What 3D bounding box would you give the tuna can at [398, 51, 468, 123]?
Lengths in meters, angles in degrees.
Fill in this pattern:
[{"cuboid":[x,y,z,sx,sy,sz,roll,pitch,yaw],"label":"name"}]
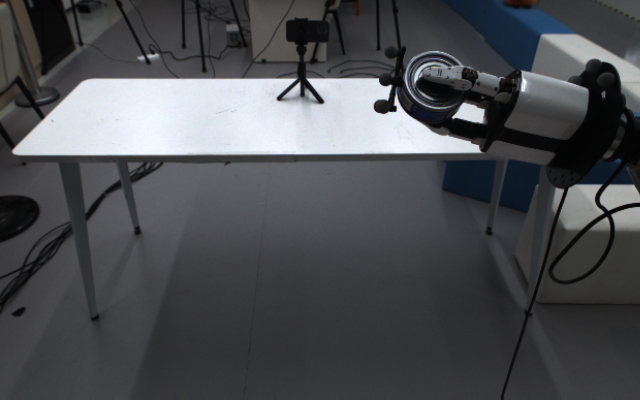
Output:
[{"cuboid":[0.145,-0.149,0.609,0.085,0.034,0.085,1,73,-5],"label":"tuna can"}]
